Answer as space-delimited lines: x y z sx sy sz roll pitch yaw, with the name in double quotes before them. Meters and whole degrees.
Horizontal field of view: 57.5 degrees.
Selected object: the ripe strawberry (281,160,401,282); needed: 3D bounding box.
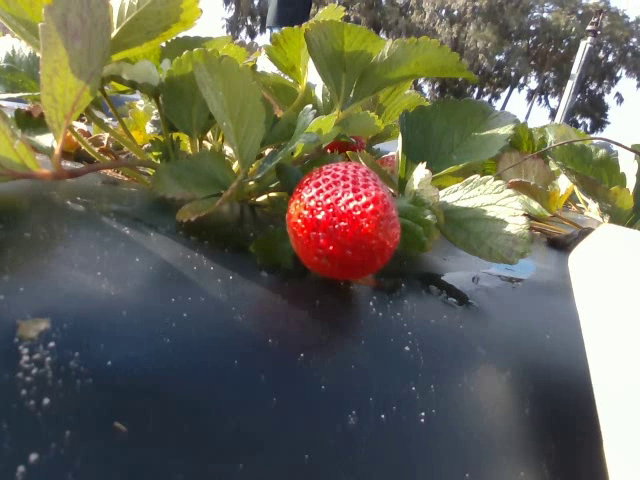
"ripe strawberry" 0.011 -0.007 0.160 0.041 0.041 0.047 -19 7 -18
